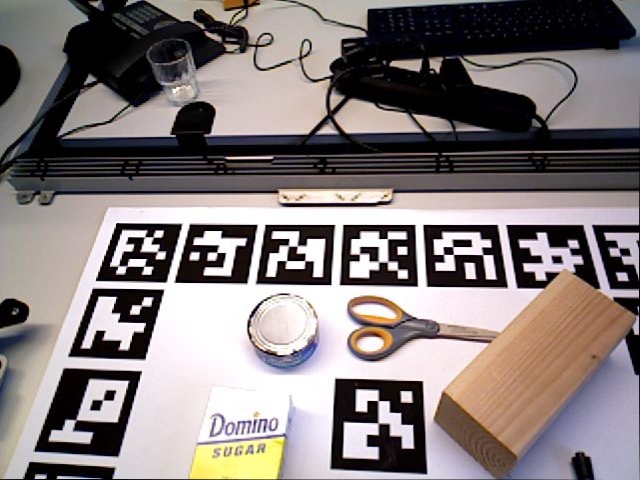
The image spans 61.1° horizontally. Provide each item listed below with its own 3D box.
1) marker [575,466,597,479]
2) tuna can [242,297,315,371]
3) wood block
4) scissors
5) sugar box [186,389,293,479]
[{"bbox_3d":[0.261,0.278,0.515,0.019,0.020,0.119,2,58,8],"label":"marker"},{"bbox_3d":[-0.049,0.114,0.659,0.085,0.034,0.084,-4,55,4],"label":"tuna can"},{"bbox_3d":[0.232,0.151,0.571,0.203,0.092,0.090,-37,58,-19],"label":"wood block"},{"bbox_3d":[0.124,0.118,0.650,0.203,0.016,0.086,6,56,14],"label":"scissors"},{"bbox_3d":[-0.089,0.249,0.567,0.093,0.046,0.173,5,56,9],"label":"sugar box"}]
